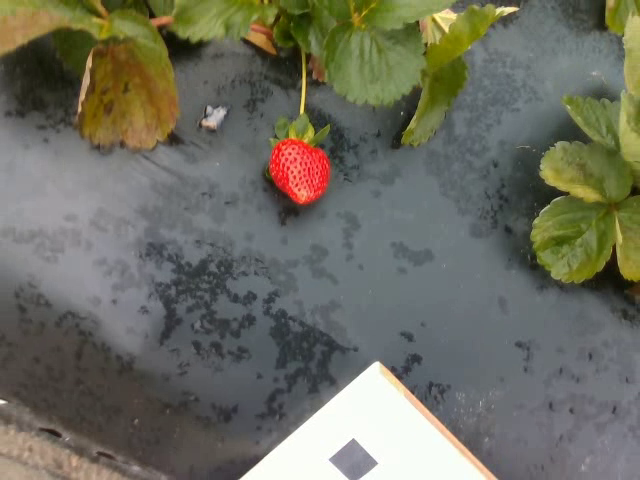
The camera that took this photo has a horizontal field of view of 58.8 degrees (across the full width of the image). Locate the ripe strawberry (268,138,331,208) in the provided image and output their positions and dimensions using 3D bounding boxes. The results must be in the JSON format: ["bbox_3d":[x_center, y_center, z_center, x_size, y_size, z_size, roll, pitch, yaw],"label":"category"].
[{"bbox_3d":[-0.012,-0.042,0.366,0.045,0.054,0.048,-4,-38,9],"label":"ripe strawberry"}]
